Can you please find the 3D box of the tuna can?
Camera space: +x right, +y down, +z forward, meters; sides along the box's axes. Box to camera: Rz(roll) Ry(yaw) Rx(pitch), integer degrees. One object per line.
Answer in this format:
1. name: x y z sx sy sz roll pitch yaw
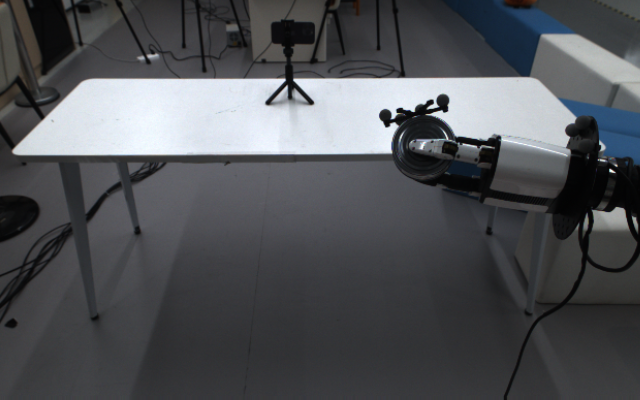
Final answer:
1. tuna can: 0.142 -0.073 0.658 0.085 0.085 0.034 12 -6 14
